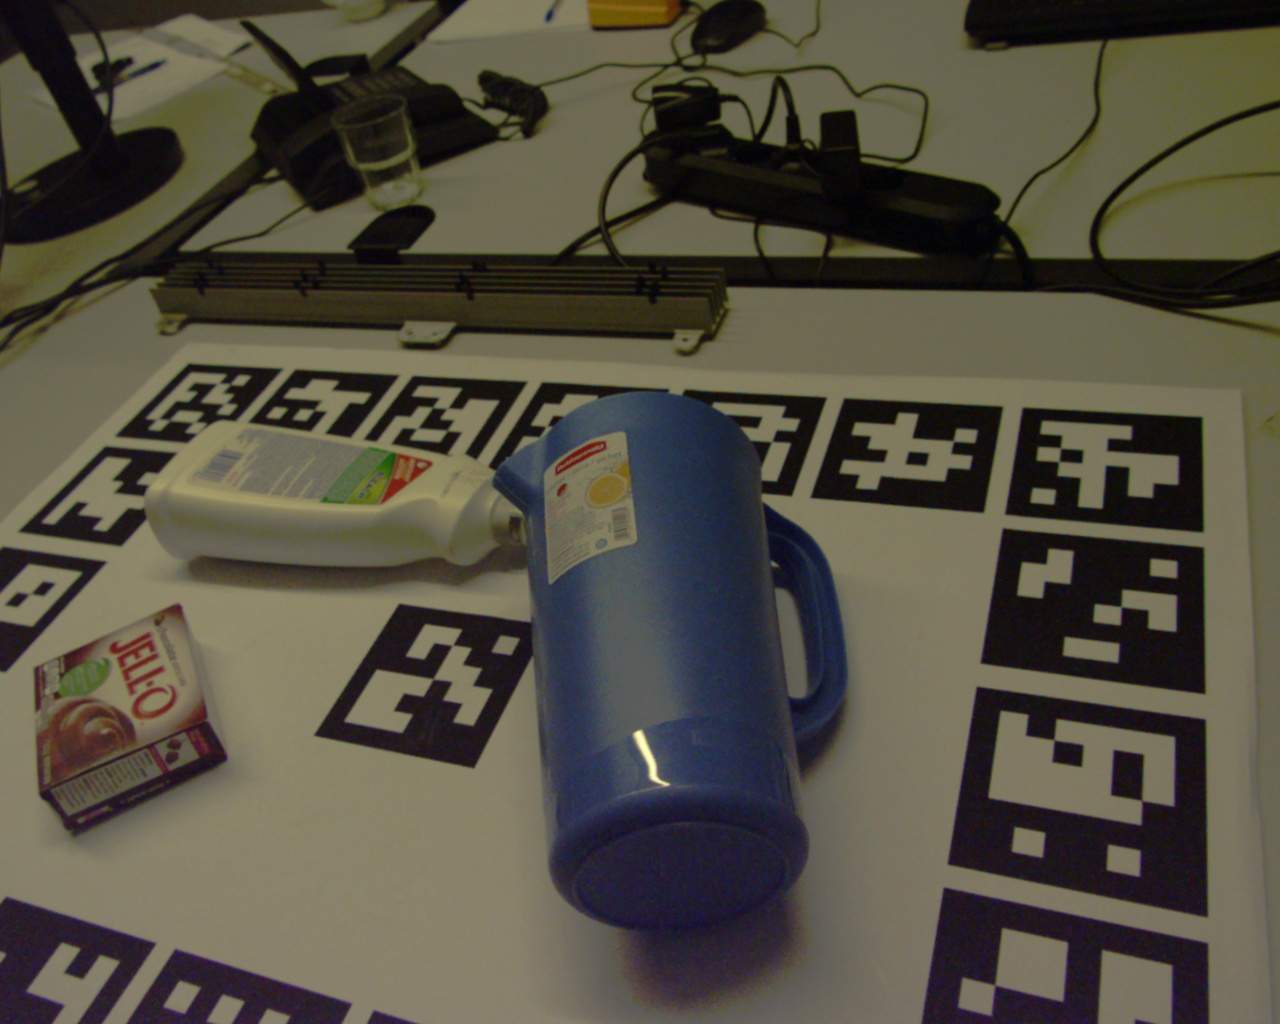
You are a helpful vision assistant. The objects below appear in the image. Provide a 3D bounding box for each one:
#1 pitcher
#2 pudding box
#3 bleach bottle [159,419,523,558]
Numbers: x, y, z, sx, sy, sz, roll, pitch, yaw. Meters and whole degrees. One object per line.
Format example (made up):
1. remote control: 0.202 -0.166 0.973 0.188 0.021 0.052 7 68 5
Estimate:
1. pitcher: 0.018 0.076 0.588 0.187 0.134 0.244 13 42 -21
2. pudding box: -0.298 0.108 0.680 0.089 0.038 0.115 -21 43 -15
3. bleach bottle: -0.188 -0.009 0.767 0.253 0.067 0.102 5 49 18
